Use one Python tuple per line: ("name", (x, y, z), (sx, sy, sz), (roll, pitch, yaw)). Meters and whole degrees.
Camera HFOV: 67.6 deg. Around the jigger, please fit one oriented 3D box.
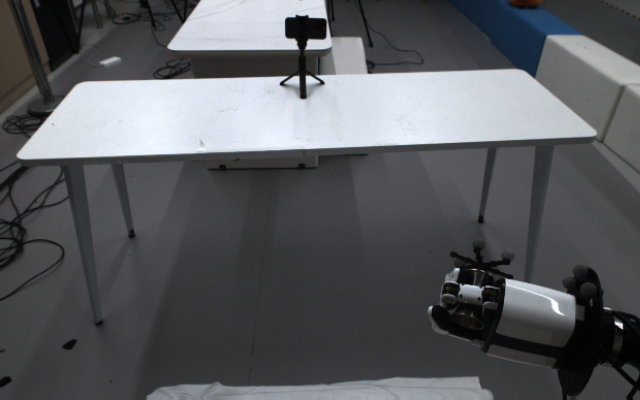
("jigger", (0.203, 0.127, 0.637), (0.043, 0.043, 0.071), (16, 59, 19))
